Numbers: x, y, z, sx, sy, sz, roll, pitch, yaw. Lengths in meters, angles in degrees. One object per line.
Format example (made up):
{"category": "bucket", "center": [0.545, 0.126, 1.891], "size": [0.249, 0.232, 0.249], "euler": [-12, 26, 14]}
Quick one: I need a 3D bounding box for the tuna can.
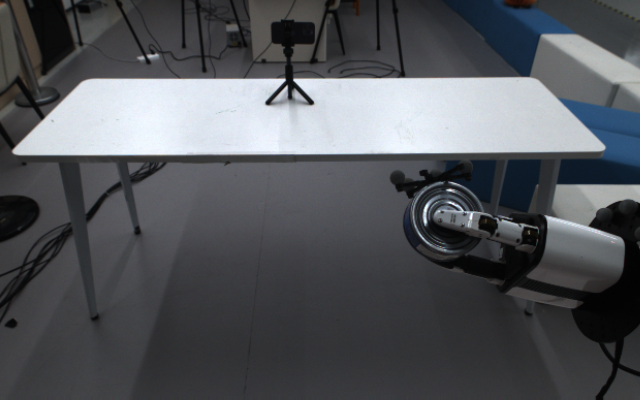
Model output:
{"category": "tuna can", "center": [0.141, 0.020, 0.538], "size": [0.085, 0.034, 0.085], "euler": [0, 73, -1]}
